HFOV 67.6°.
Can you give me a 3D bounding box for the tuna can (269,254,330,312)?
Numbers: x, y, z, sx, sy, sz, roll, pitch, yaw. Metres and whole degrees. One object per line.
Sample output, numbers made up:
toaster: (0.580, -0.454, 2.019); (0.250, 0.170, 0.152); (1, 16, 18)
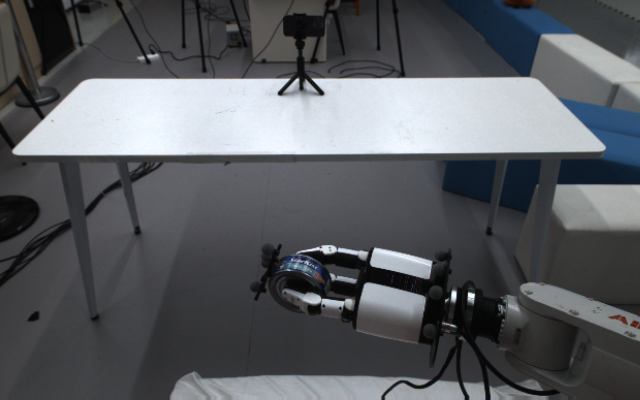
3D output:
tuna can: (-0.026, 0.123, 0.679); (0.085, 0.085, 0.034); (9, 35, 10)
